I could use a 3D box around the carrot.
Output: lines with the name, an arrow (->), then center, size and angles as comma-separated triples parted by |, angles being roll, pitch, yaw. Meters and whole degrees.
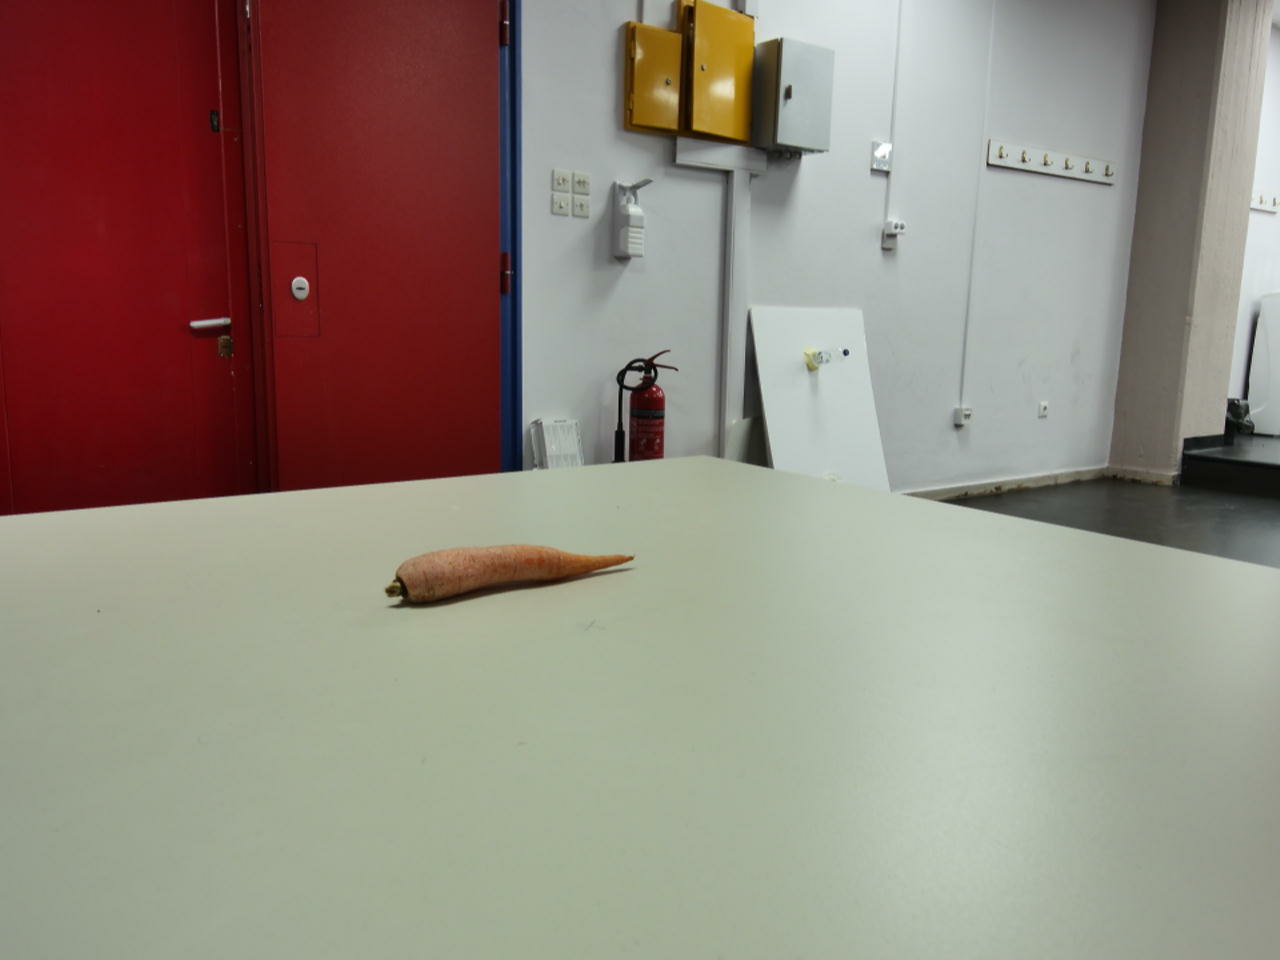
carrot -> -0.073, 0.051, 0.610 | 0.163, 0.029, 0.031 | -5, 10, -35
